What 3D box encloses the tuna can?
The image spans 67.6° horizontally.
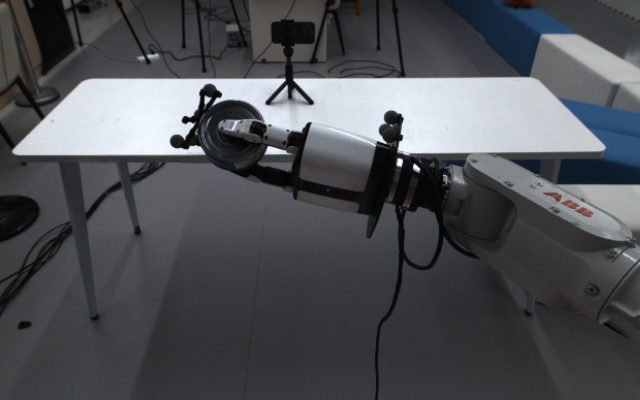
[{"bbox_3d":[-0.108,-0.083,0.612,0.085,0.034,0.085,0,75,-2],"label":"tuna can"}]
